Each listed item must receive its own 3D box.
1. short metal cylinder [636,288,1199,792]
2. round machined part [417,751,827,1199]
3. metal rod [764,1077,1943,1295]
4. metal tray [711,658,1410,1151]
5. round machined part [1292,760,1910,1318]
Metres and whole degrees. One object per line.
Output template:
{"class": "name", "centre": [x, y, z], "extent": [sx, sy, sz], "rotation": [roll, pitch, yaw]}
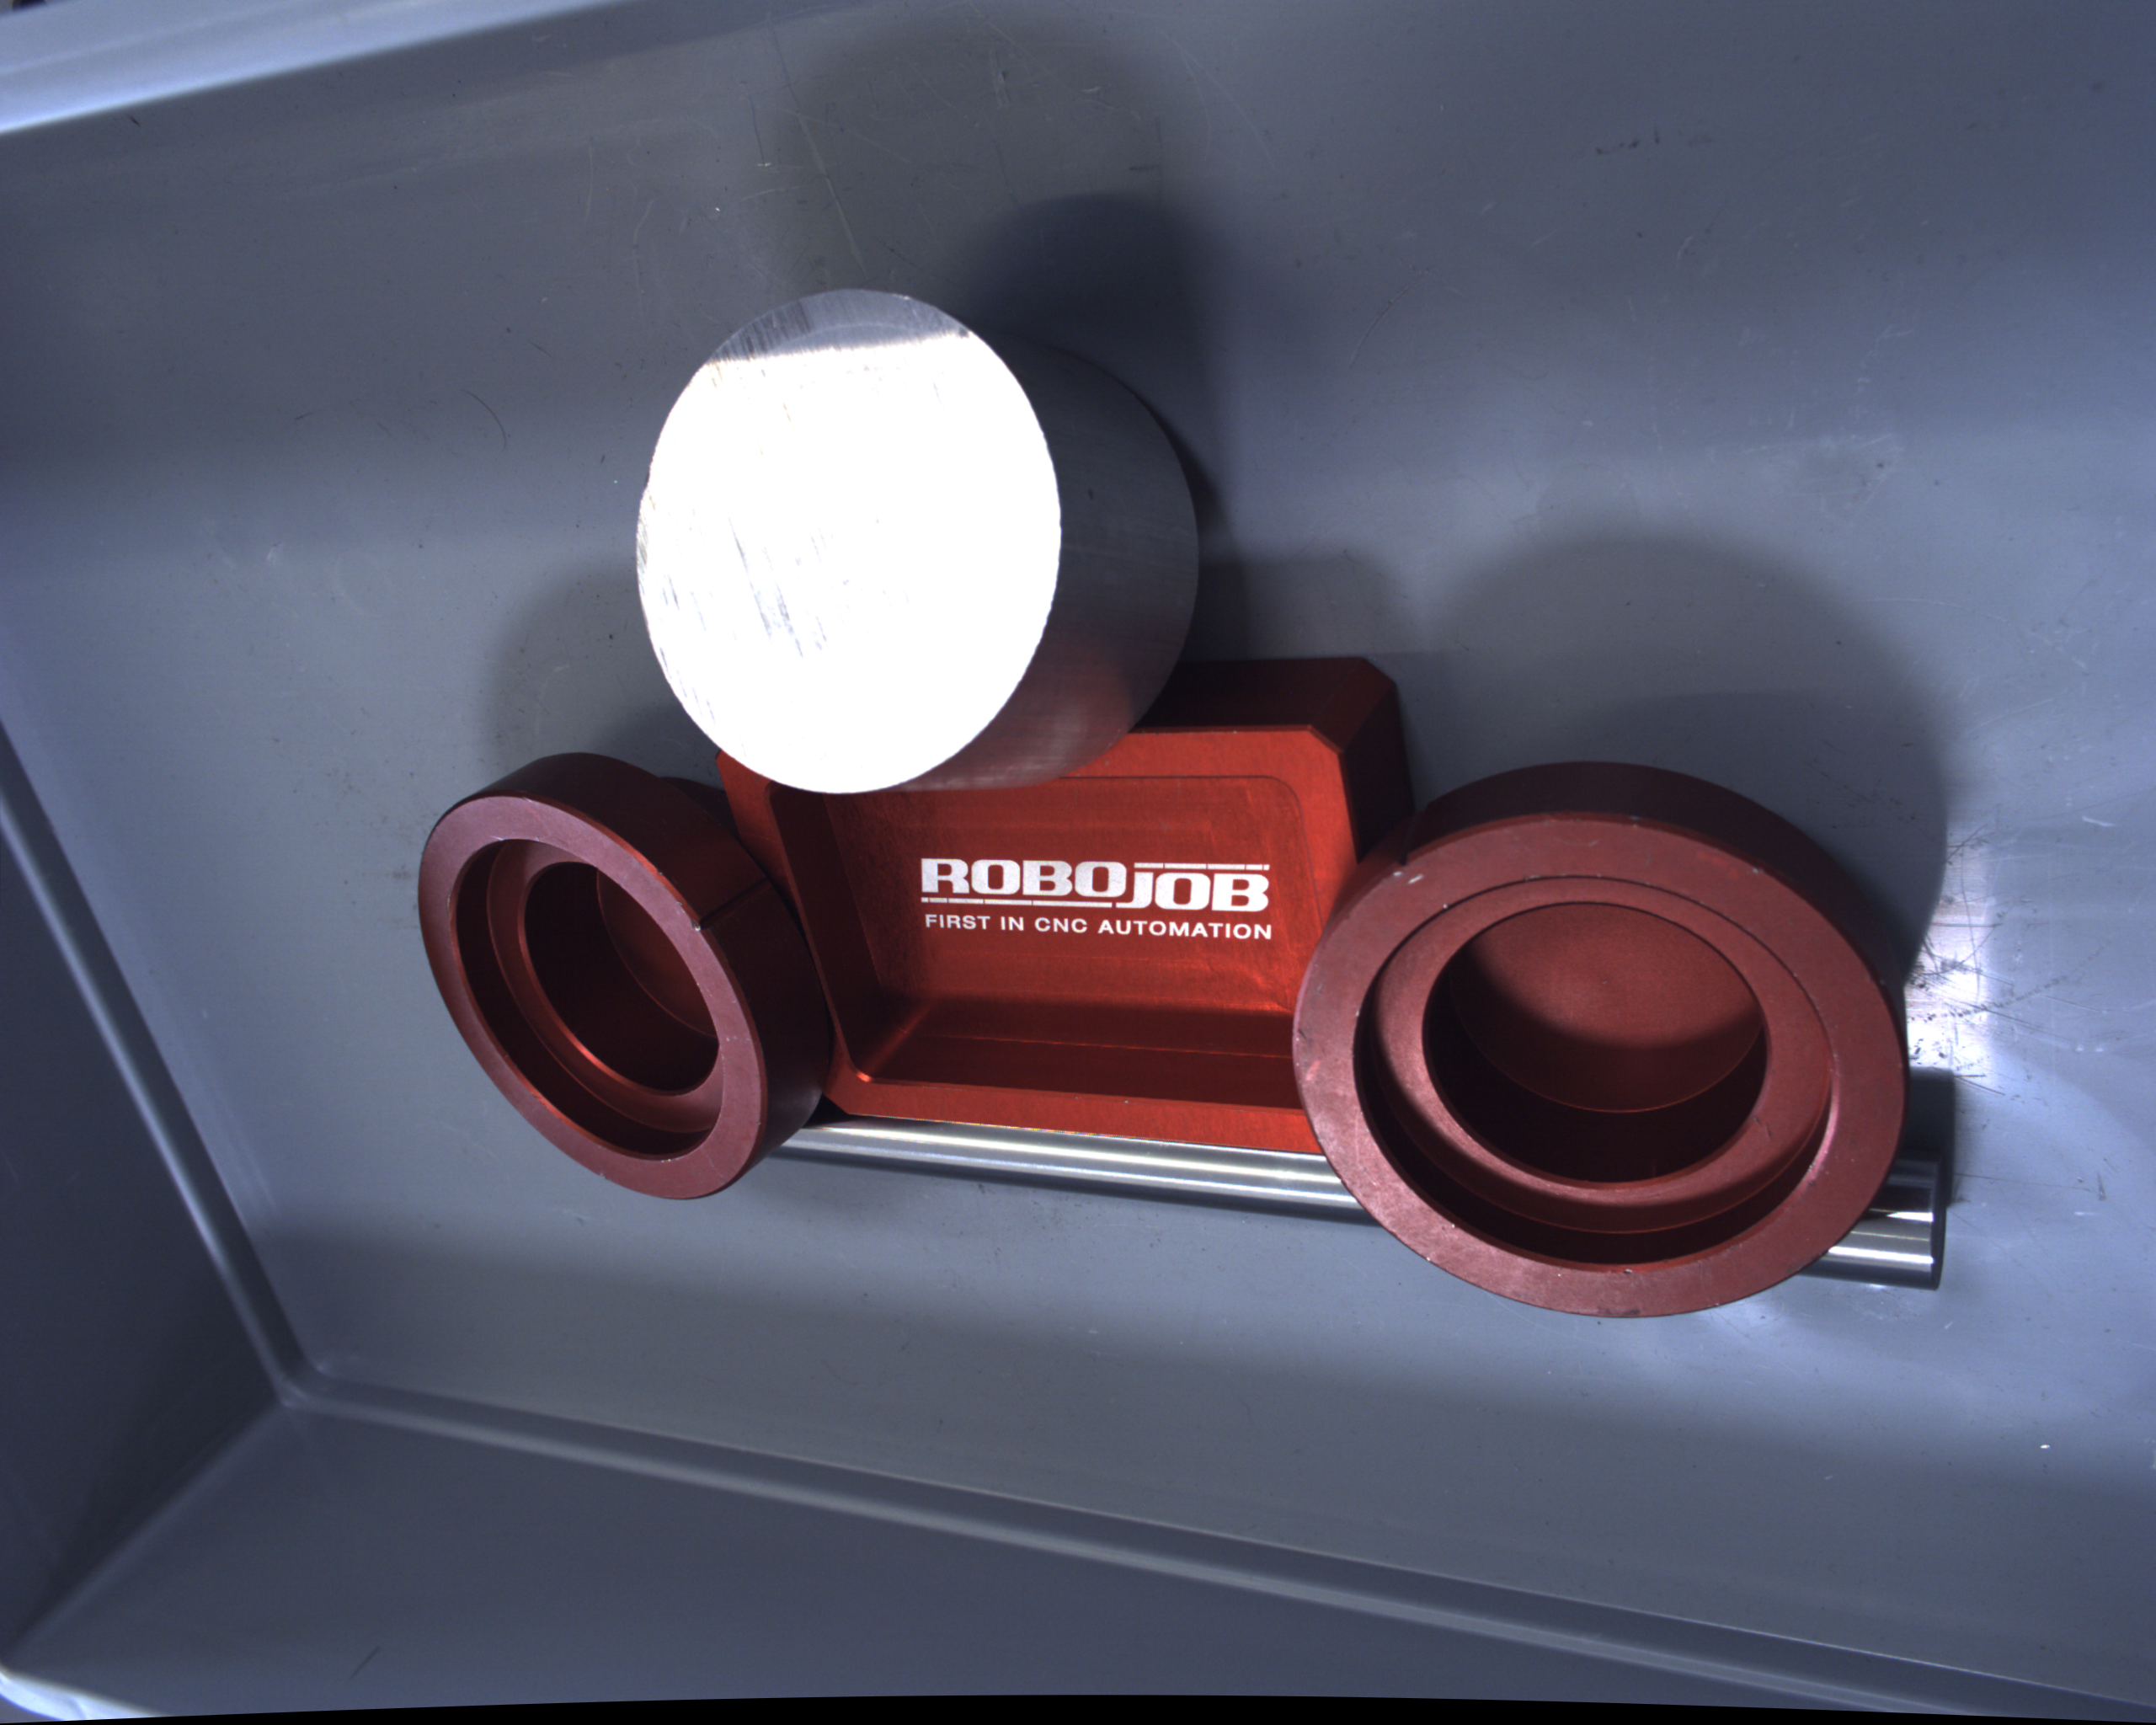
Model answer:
{"class": "short metal cylinder", "centre": [-0.027, -0.052, 0.353], "extent": [0.080, 0.050, 0.079], "rotation": [1, 93, 28]}
{"class": "round machined part", "centre": [-0.092, 0.020, 0.450], "extent": [0.098, 0.042, 0.097], "rotation": [18, 126, 28]}
{"class": "metal rod", "centre": [0.017, 0.059, 0.434], "extent": [0.301, 0.025, 0.025], "rotation": [2, 119, 27]}
{"class": "metal tray", "centre": [0.001, 0.009, 0.407], "extent": [0.130, 0.030, 0.089], "rotation": [1, 120, 27]}
{"class": "round machined part", "centre": [0.089, 0.026, 0.358], "extent": [0.098, 0.042, 0.097], "rotation": [8, 119, 15]}
